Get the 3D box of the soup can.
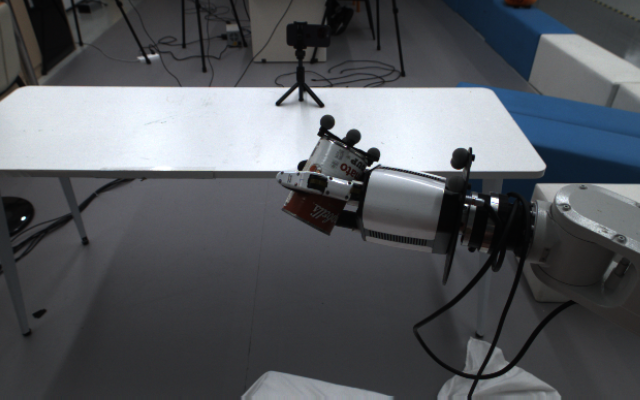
[{"bbox_3d":[0.007,-0.017,0.584,0.067,0.101,0.067,28,-3,1],"label":"soup can"}]
